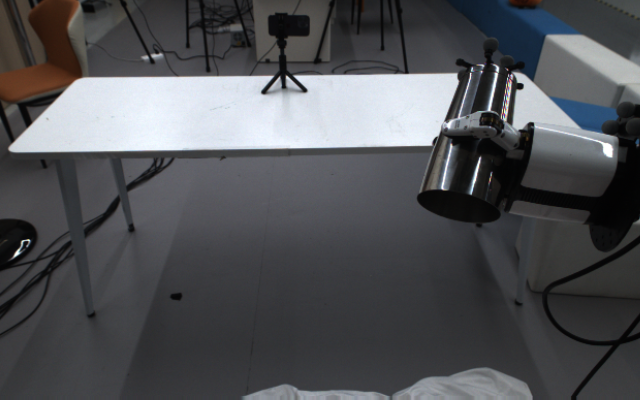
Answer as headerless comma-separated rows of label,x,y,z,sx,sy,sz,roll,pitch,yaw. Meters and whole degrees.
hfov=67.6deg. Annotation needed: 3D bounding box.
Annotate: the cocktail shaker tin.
cocktail shaker tin,0.181,-0.068,0.563,0.093,0.093,0.170,13,73,16
